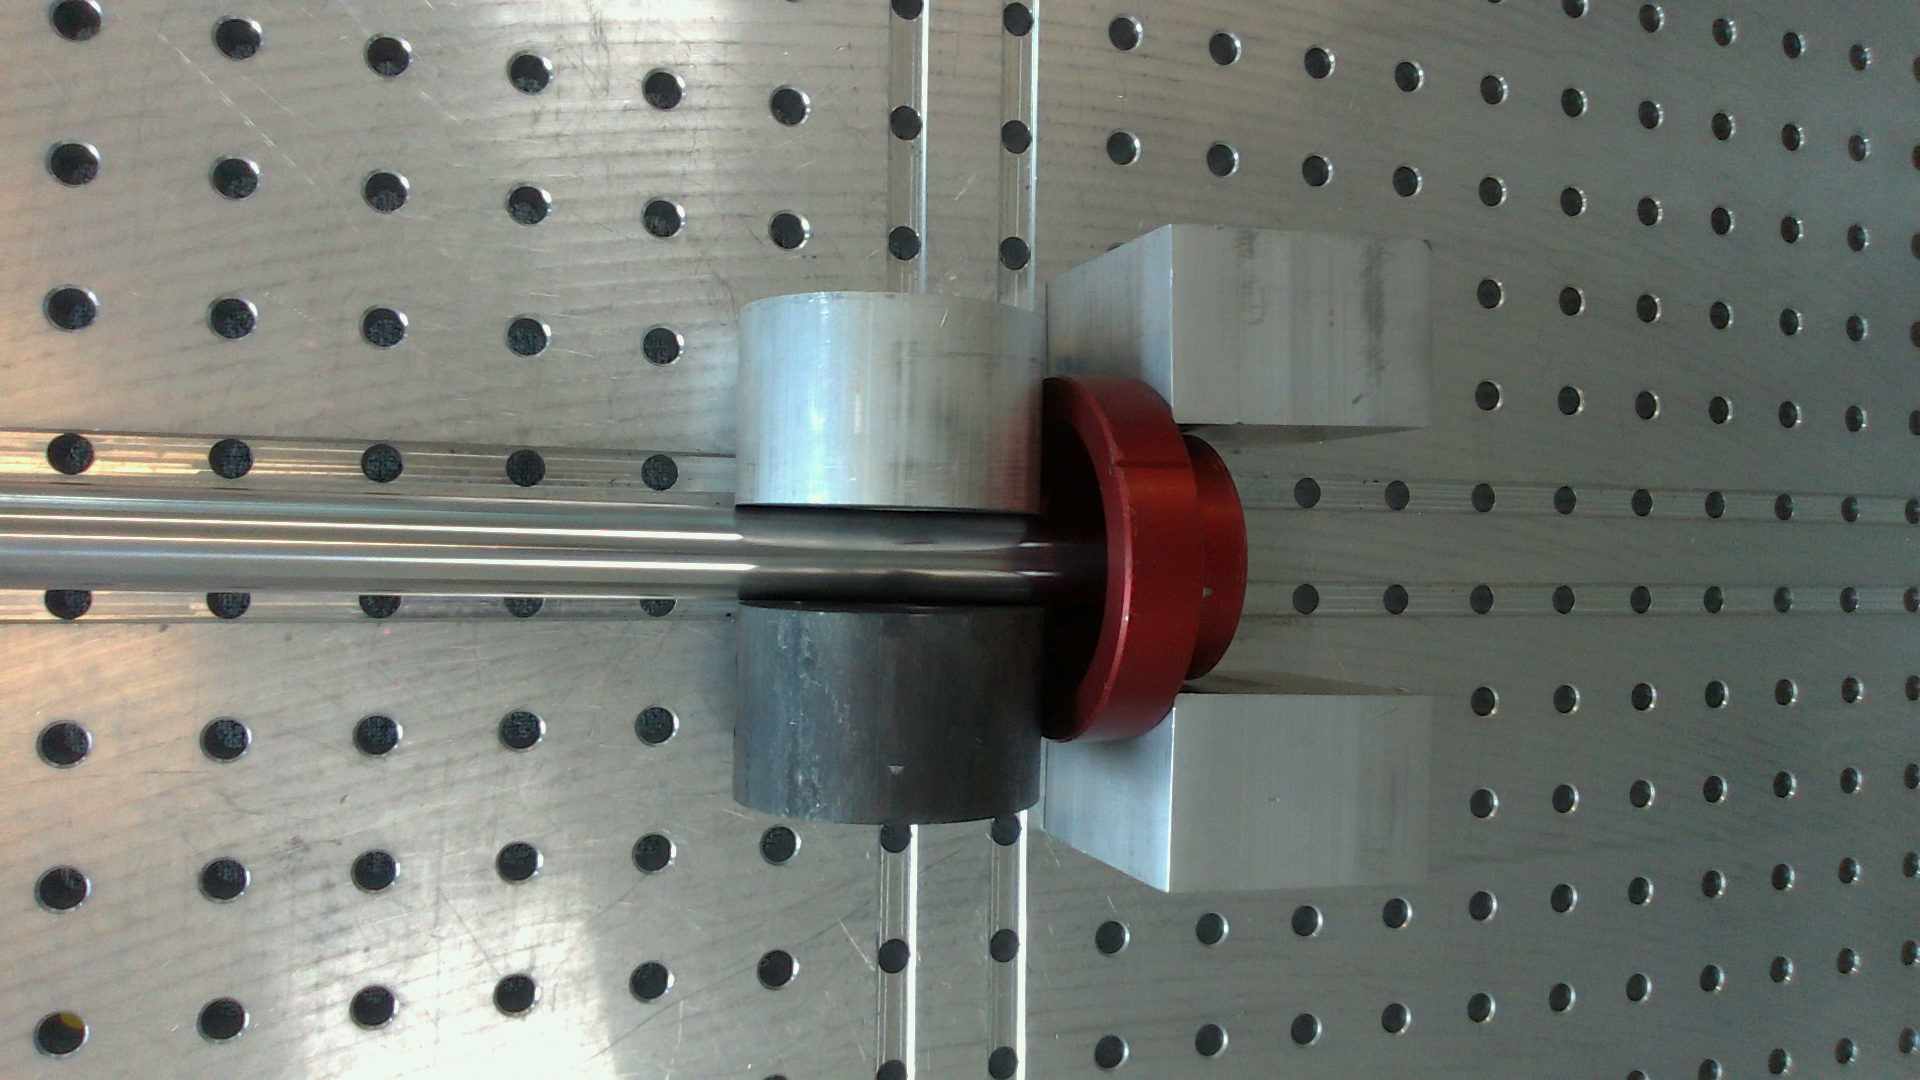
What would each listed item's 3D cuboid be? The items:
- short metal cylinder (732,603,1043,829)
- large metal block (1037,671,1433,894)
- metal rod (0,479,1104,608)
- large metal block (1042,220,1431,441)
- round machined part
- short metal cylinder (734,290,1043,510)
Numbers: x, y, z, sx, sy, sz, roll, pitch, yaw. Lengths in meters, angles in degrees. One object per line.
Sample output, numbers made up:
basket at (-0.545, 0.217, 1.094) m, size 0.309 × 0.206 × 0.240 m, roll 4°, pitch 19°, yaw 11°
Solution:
short metal cylinder at (-0.019, 0.042, 0.359) m, size 0.080 × 0.080 × 0.050 m, roll 1°, pitch 90°, yaw -20°
large metal block at (0.076, 0.065, 0.395) m, size 0.080 × 0.080 × 0.050 m, roll 3°, pitch 89°, yaw -20°
metal rod at (-0.101, 0.002, 0.347) m, size 0.301 × 0.025 × 0.025 m, roll 2°, pitch 90°, yaw -16°
large metal block at (0.076, -0.055, 0.395) m, size 0.080 × 0.080 × 0.050 m, roll 0°, pitch 90°, yaw -20°
round machined part at (0.043, 0.005, 0.372) m, size 0.042 × 0.098 × 0.098 m, roll 1°, pitch 90°, yaw -20°
short metal cylinder at (-0.018, -0.033, 0.360) m, size 0.080 × 0.080 × 0.050 m, roll 1°, pitch 90°, yaw -20°
